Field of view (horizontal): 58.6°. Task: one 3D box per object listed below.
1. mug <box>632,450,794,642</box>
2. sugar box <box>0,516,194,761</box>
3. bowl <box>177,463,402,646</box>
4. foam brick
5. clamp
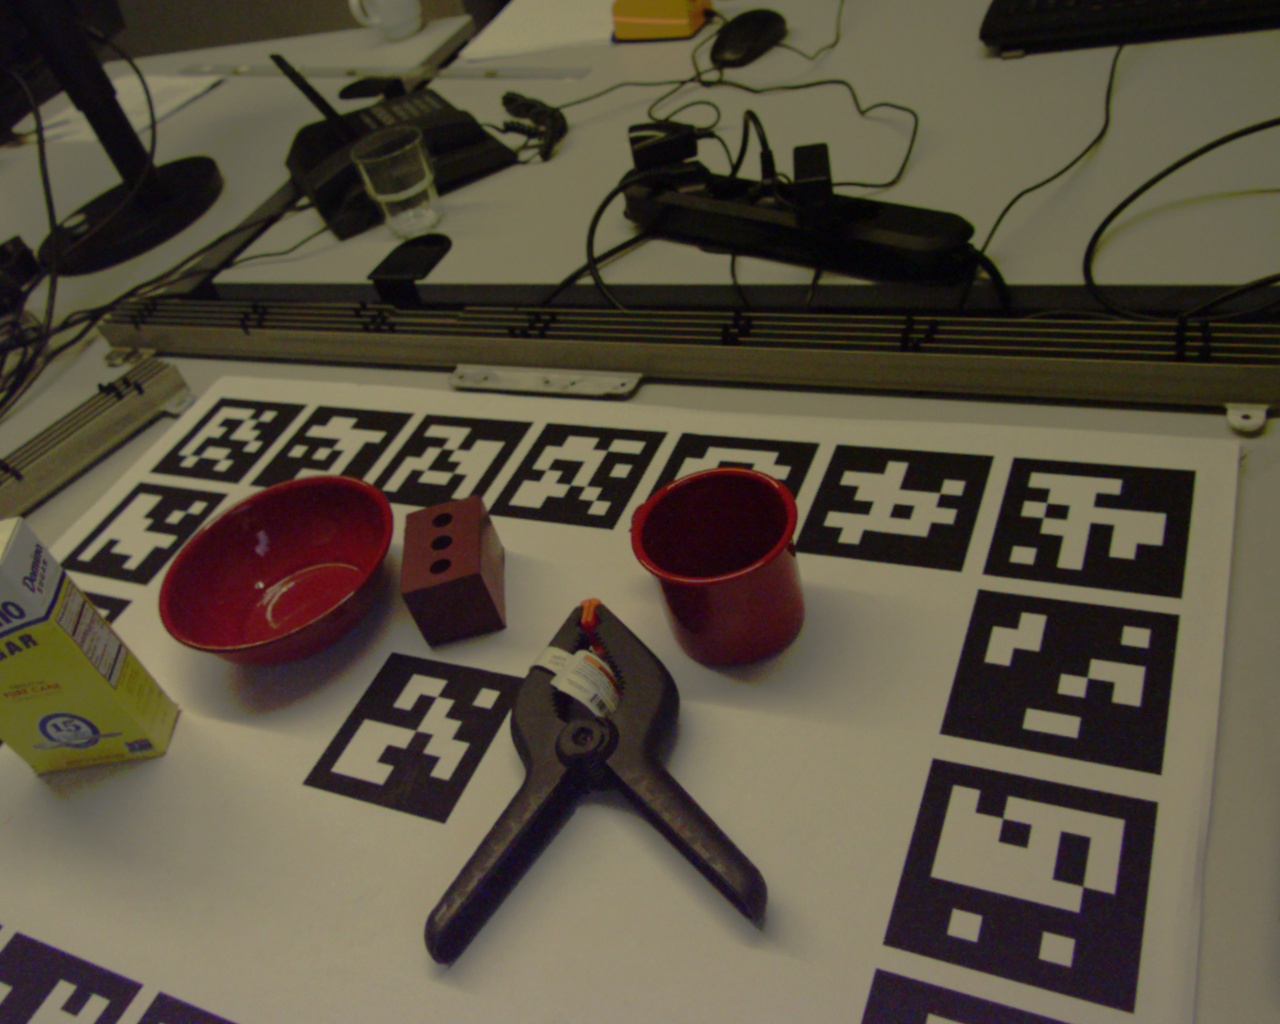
[{"bbox_3d":[0.041,0.018,0.691,0.093,0.081,0.119,-40,49,-22],"label":"mug"},{"bbox_3d":[-0.362,0.084,0.705,0.093,0.175,0.045,-11,44,6],"label":"sugar box"},{"bbox_3d":[-0.234,0.039,0.794,0.162,0.055,0.162,-10,43,9],"label":"bowl"},{"bbox_3d":[-0.117,0.037,0.765,0.053,0.051,0.078,-15,43,6],"label":"foam brick"},{"bbox_3d":[-0.029,0.119,0.639,0.166,0.036,0.203,-13,43,10],"label":"clamp"}]
